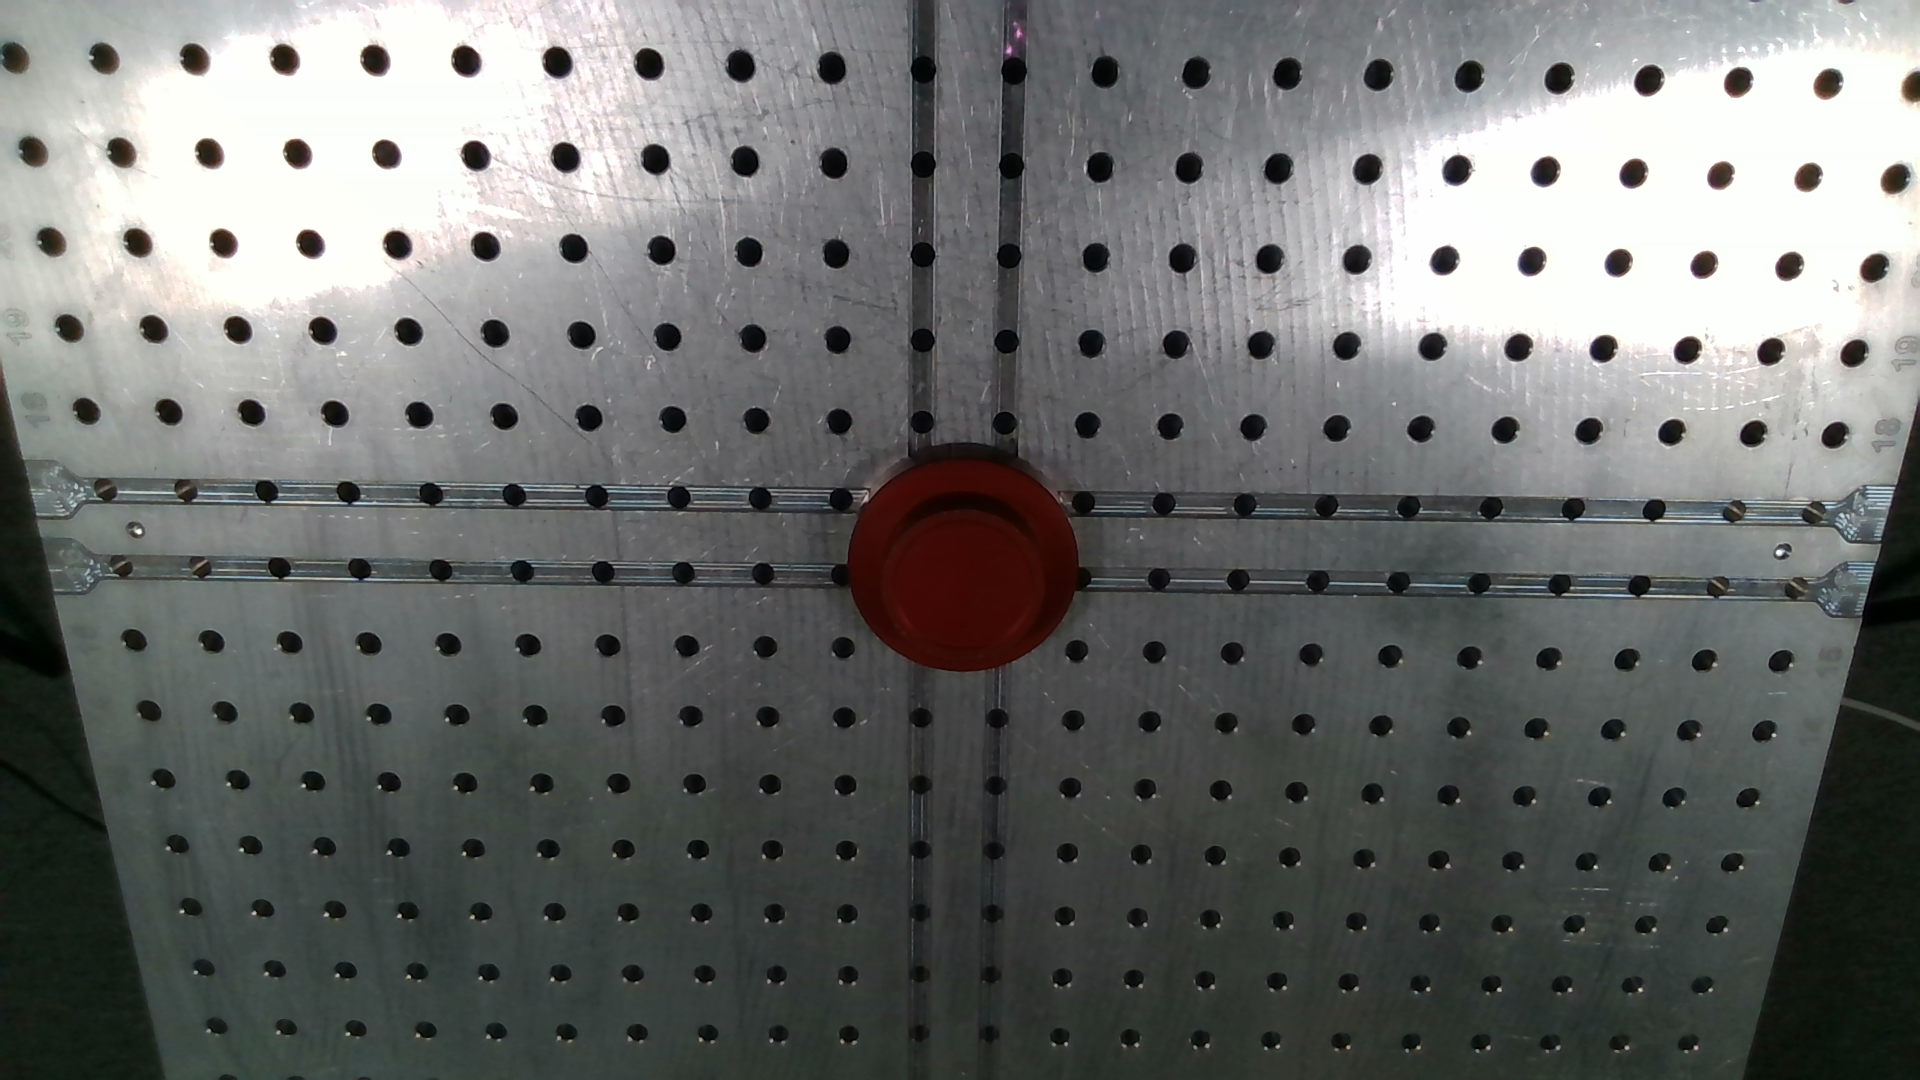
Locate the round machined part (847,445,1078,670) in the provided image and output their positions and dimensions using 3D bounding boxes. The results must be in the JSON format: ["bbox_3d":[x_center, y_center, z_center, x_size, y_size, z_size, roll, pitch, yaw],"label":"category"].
[{"bbox_3d":[0.001,0.011,0.582,0.098,0.042,0.098,0,110,0],"label":"round machined part"}]
